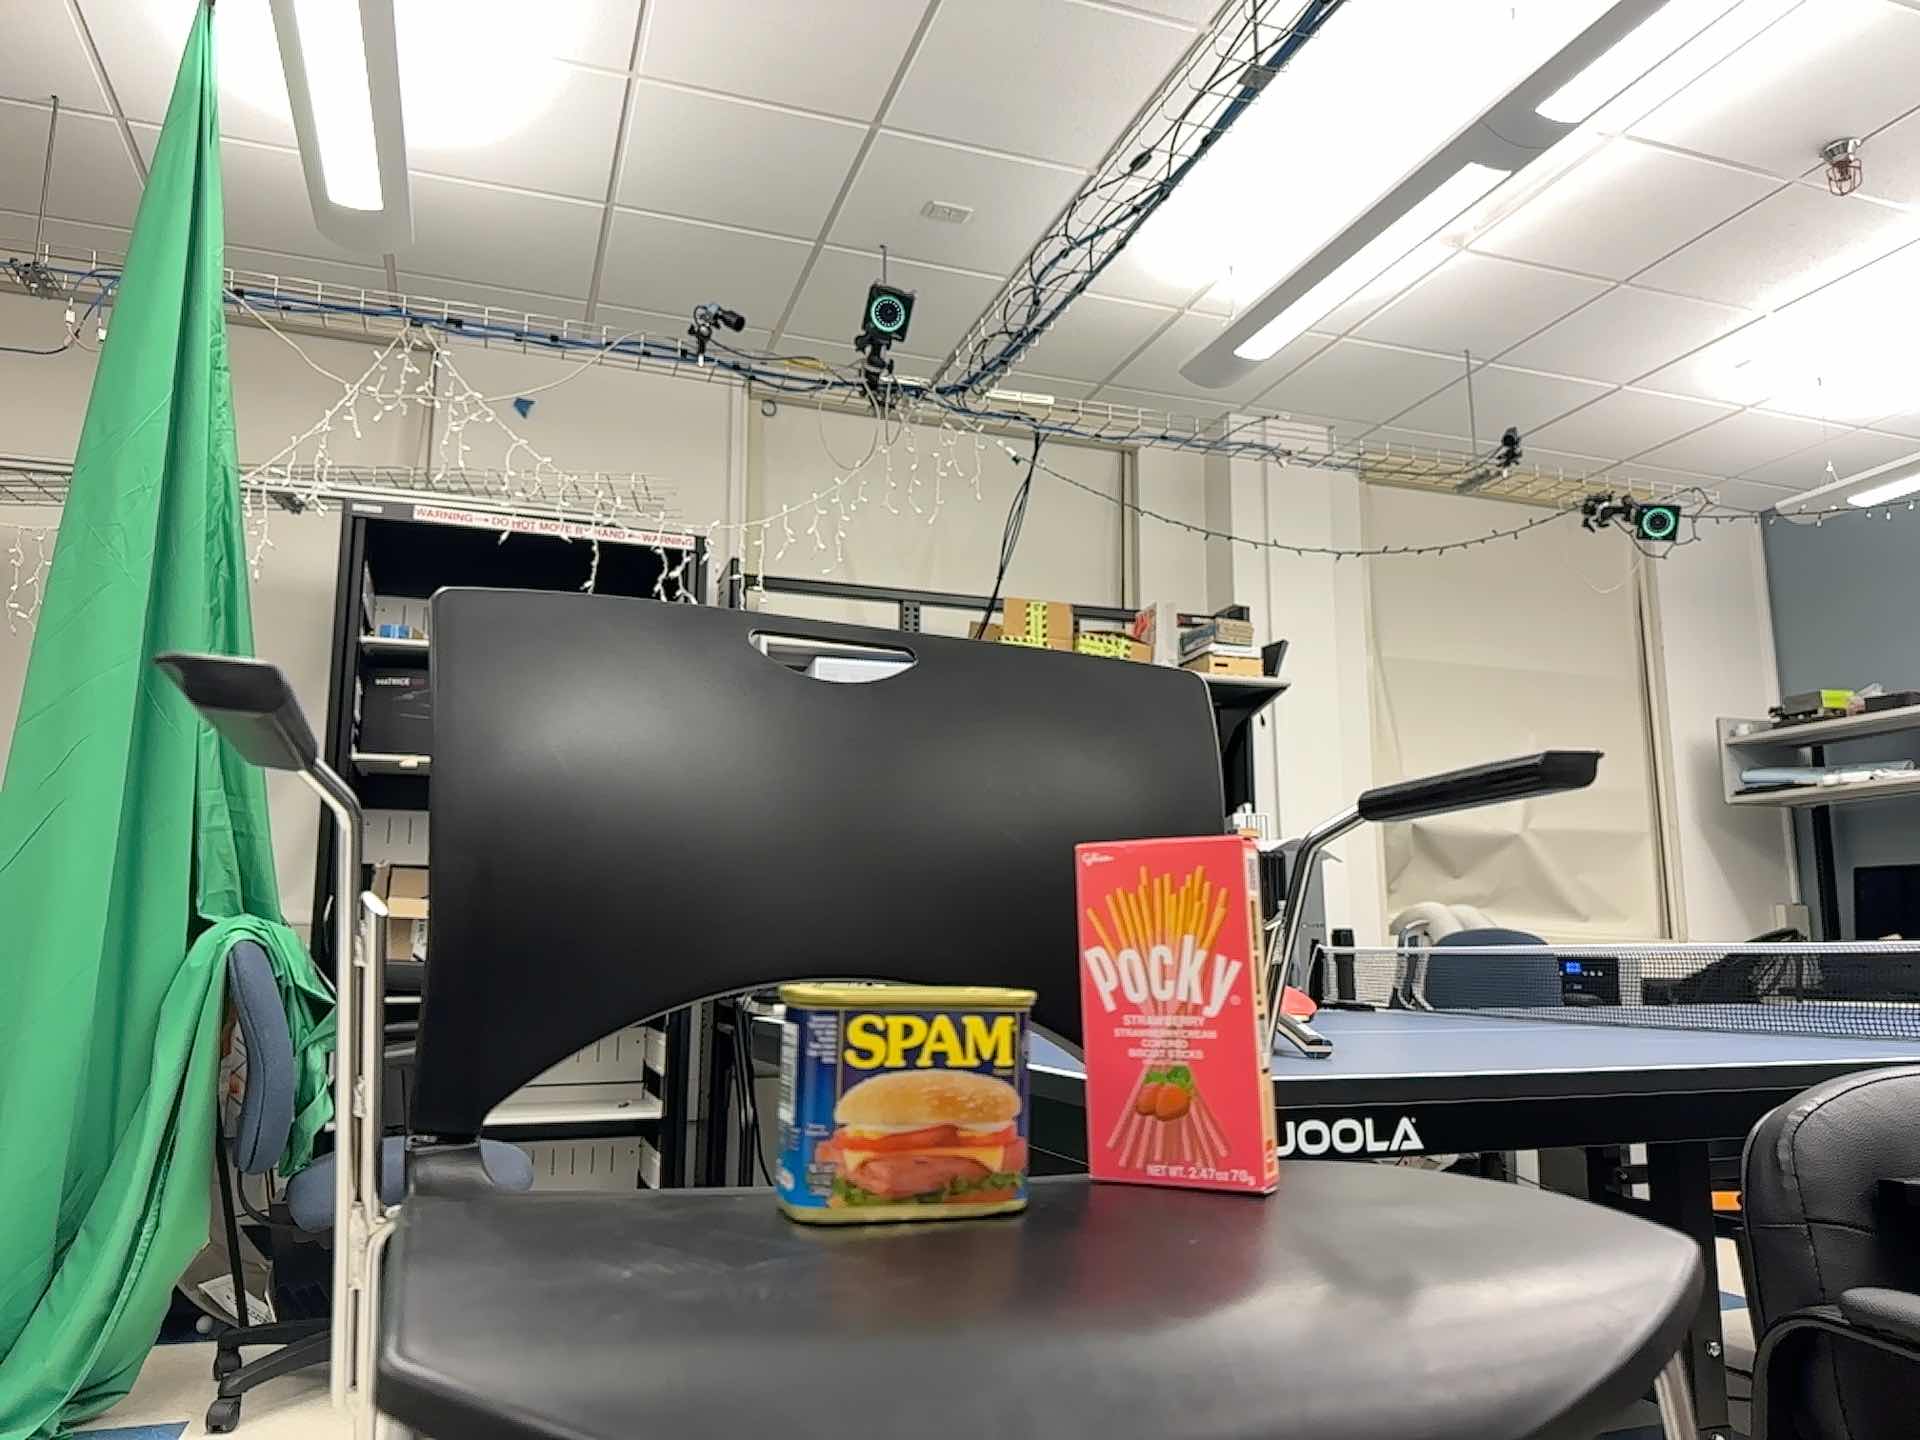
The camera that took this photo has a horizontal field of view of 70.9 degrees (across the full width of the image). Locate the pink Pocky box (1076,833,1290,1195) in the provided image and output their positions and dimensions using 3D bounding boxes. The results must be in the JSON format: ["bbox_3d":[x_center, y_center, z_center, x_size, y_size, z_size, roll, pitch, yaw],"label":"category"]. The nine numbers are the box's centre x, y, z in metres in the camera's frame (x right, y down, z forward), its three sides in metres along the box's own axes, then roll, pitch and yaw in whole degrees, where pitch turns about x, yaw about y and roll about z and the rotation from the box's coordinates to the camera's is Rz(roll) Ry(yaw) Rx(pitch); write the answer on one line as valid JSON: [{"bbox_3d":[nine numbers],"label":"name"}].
[{"bbox_3d":[0.099,0.131,0.609,0.084,0.155,0.029,-7,-10,29],"label":"pink Pocky box"}]

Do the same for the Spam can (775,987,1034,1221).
[{"bbox_3d":[-0.023,0.151,0.540,0.100,0.083,0.056,4,-10,-14],"label":"Spam can"}]
